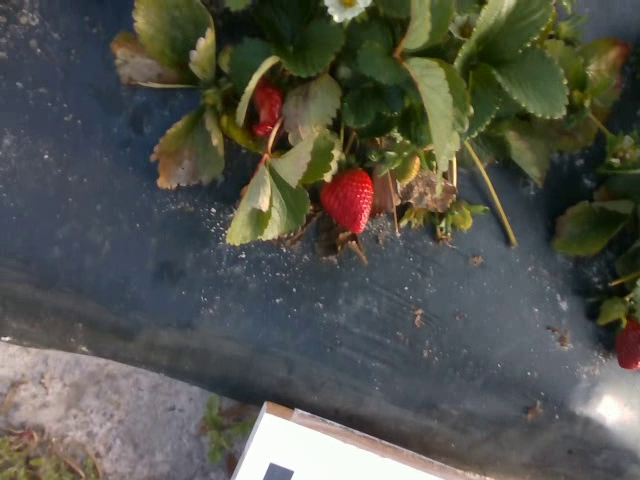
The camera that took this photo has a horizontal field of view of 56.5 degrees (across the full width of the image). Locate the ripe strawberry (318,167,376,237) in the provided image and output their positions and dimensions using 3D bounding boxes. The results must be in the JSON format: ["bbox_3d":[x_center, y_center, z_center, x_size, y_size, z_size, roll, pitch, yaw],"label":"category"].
[{"bbox_3d":[0.012,-0.017,0.279,0.031,0.030,0.026,-14,-6,-1],"label":"ripe strawberry"}]
